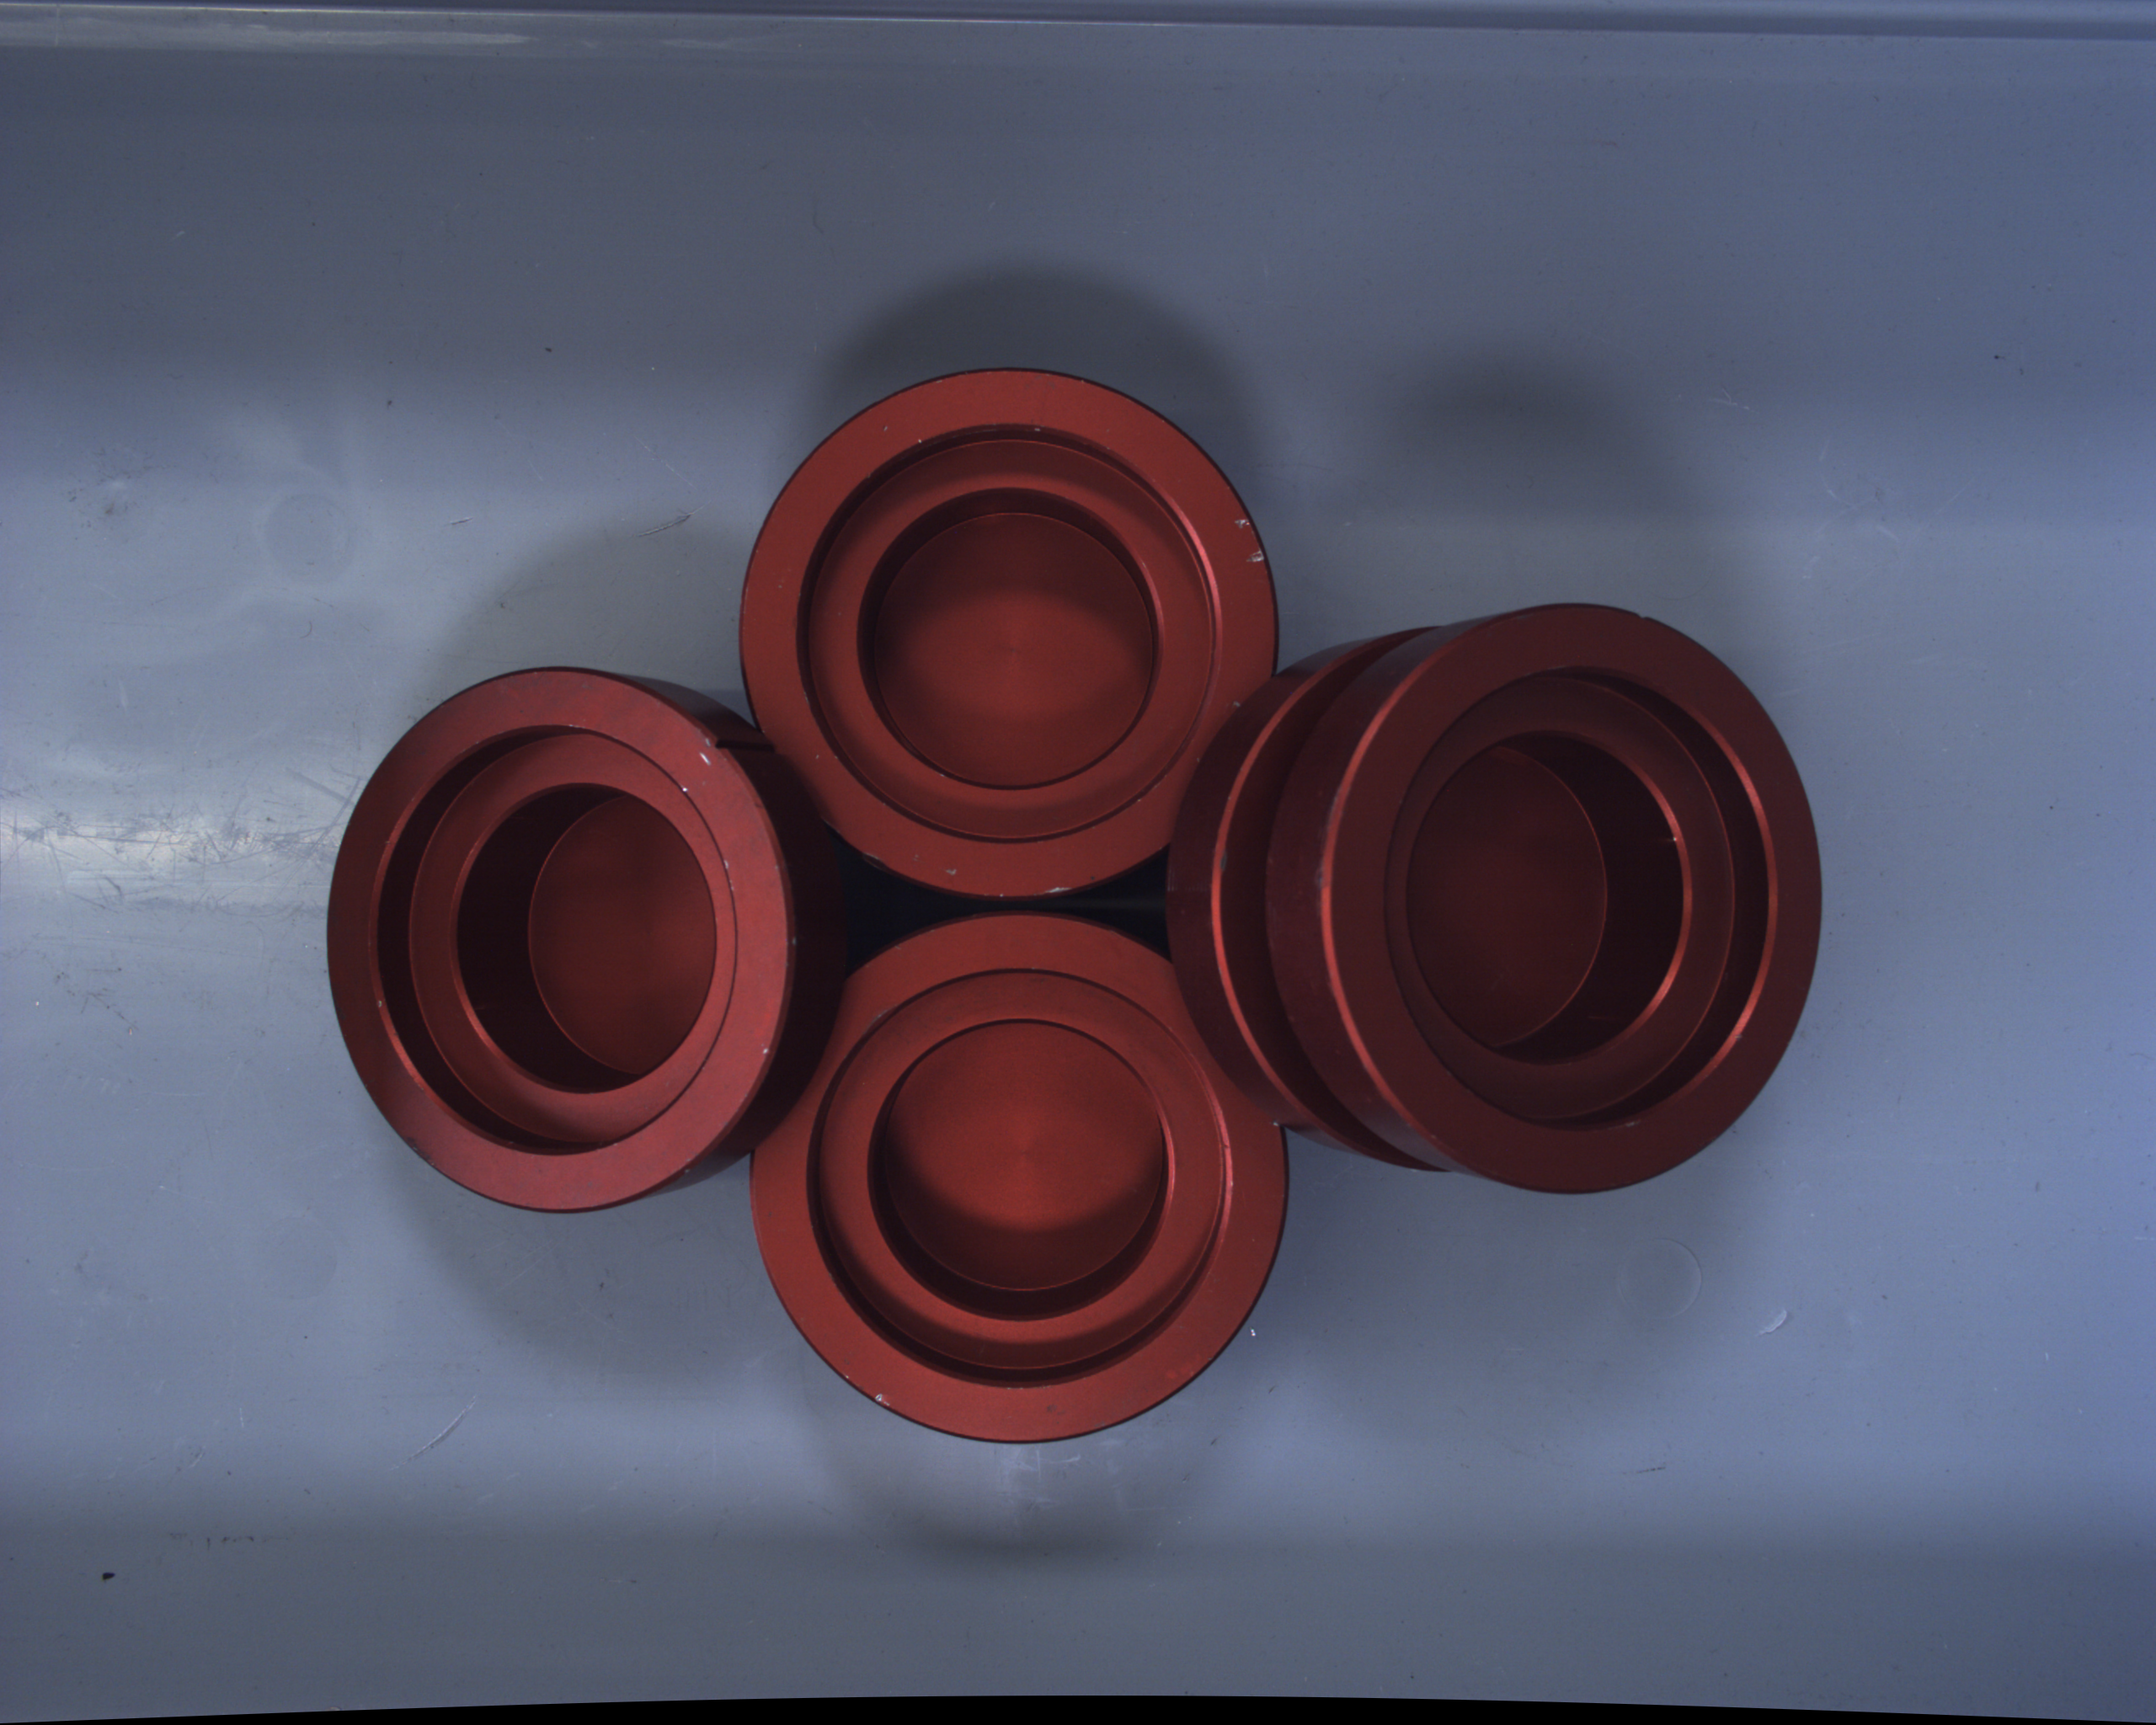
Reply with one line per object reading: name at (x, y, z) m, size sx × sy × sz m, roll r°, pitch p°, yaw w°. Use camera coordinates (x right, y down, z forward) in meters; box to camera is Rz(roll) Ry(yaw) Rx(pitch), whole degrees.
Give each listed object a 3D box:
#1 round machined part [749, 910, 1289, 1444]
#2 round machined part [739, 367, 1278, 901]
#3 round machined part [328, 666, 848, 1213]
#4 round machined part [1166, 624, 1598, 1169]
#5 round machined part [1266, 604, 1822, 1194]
round machined part at (-0.011, 0.057, 0.400) m, size 0.099 × 0.042 × 0.097 m, roll 0°, pitch 90°, yaw 0°
round machined part at (-0.013, -0.042, 0.400) m, size 0.099 × 0.042 × 0.097 m, roll 0°, pitch 90°, yaw 0°
round machined part at (-0.087, 0.014, 0.390) m, size 0.098 × 0.042 × 0.097 m, roll 0°, pitch 90°, yaw 20°
round machined part at (0.061, 0.006, 0.391) m, size 0.099 × 0.042 × 0.097 m, roll 0°, pitch 89°, yaw -22°
round machined part at (0.076, 0.006, 0.363) m, size 0.099 × 0.042 × 0.097 m, roll 0°, pitch 90°, yaw -22°
